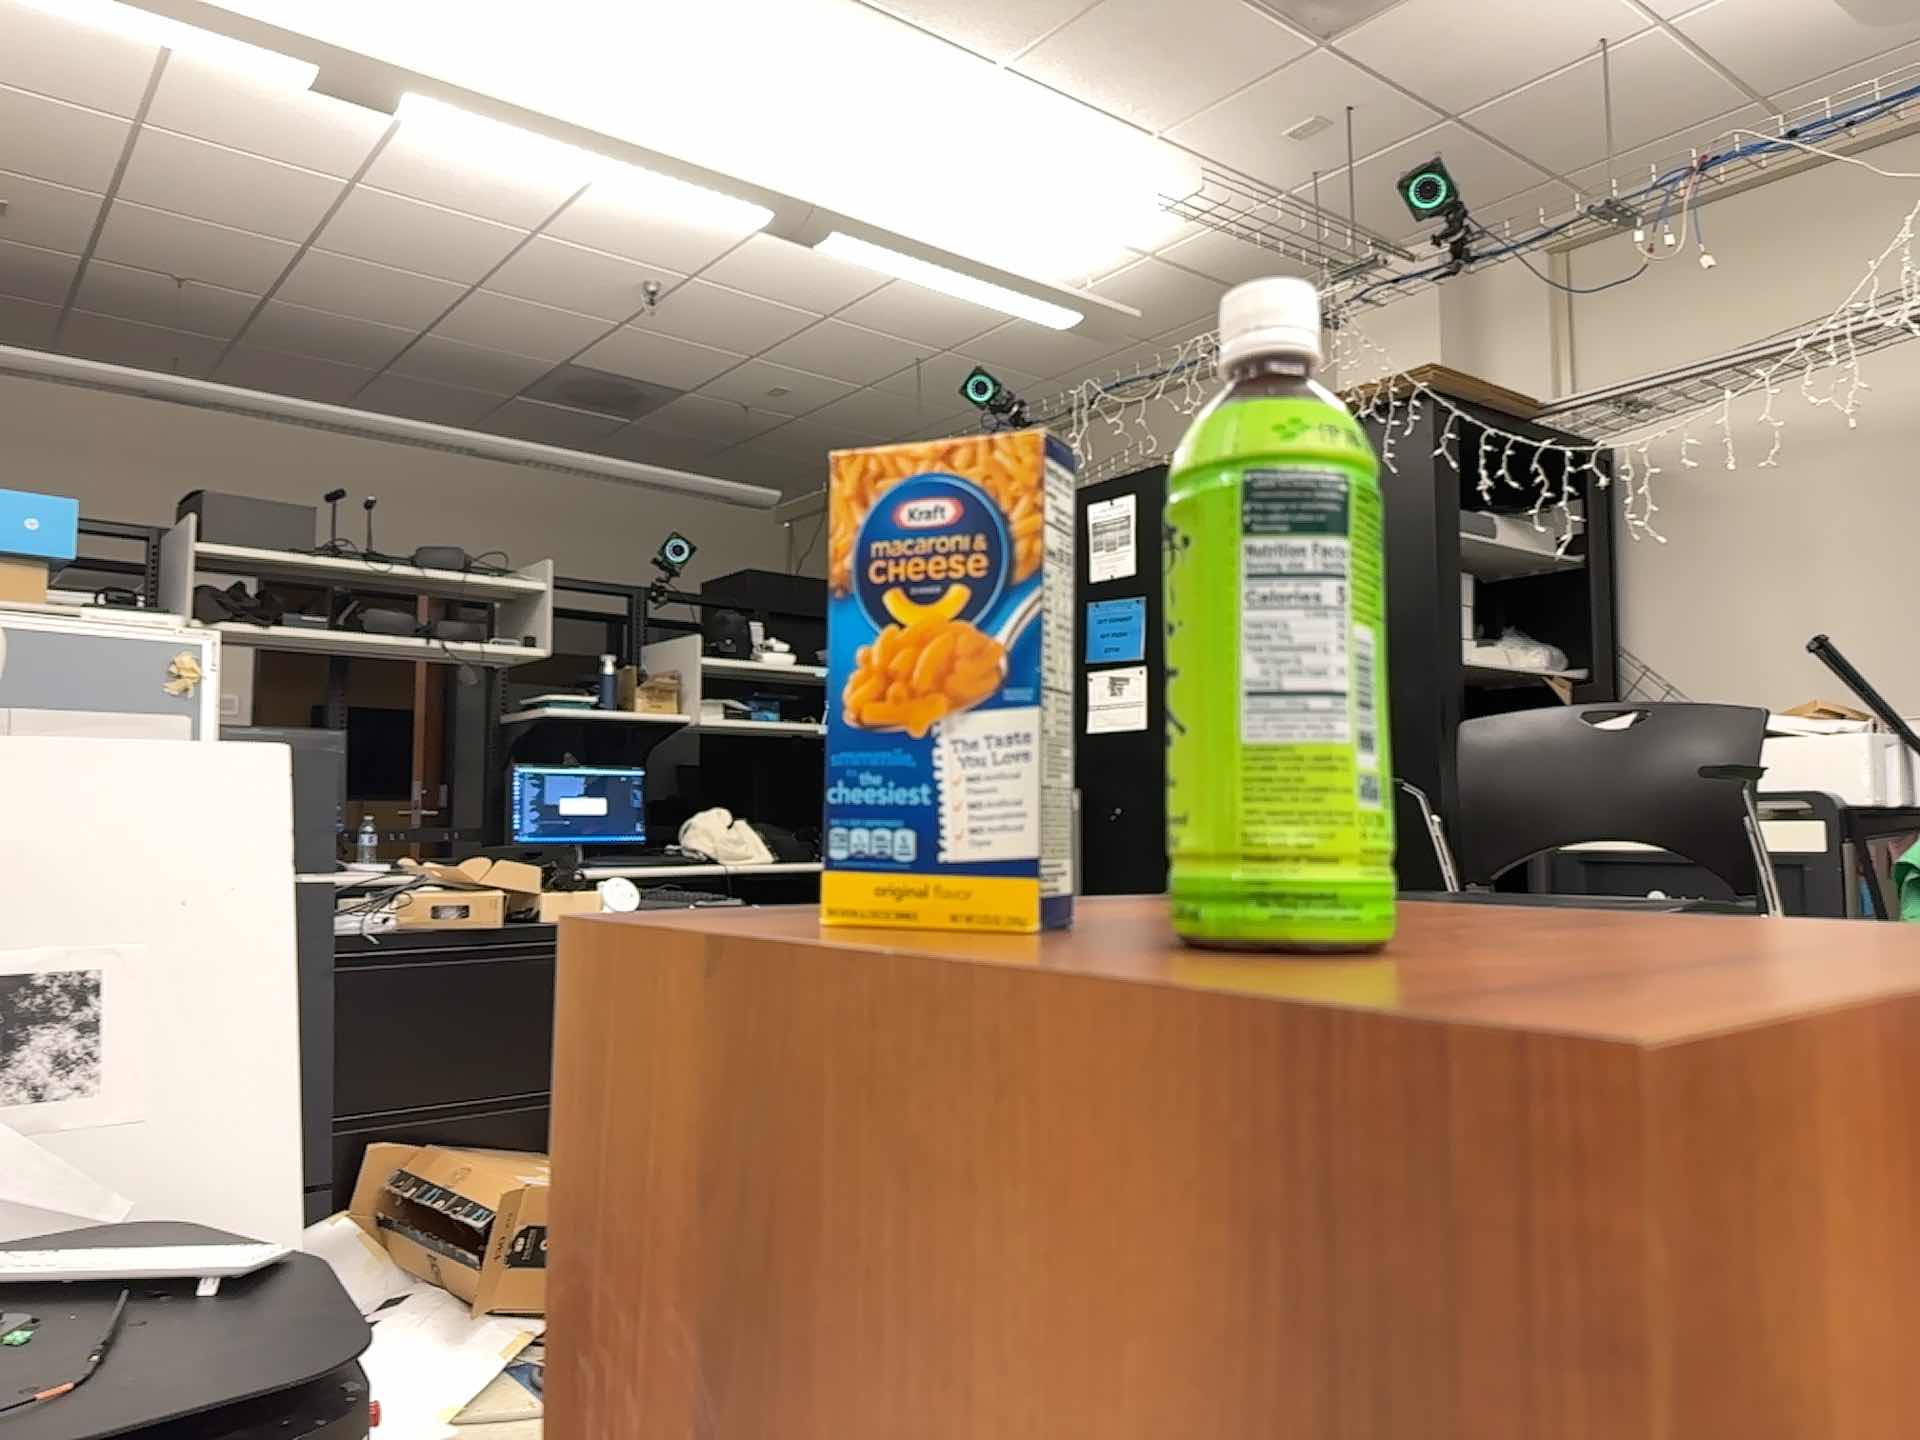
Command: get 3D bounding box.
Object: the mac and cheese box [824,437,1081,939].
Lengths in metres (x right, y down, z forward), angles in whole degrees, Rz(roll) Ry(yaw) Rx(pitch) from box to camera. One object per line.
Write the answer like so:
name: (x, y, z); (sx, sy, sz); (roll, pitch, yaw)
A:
mac and cheese box: (-0.002, -0.009, 0.517); (0.088, 0.181, 0.035); (-3, -8, 27)

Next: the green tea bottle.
green tea bottle: (0.100, -0.036, 0.433); (0.073, 0.212, 0.073); (3, -7, 0)
